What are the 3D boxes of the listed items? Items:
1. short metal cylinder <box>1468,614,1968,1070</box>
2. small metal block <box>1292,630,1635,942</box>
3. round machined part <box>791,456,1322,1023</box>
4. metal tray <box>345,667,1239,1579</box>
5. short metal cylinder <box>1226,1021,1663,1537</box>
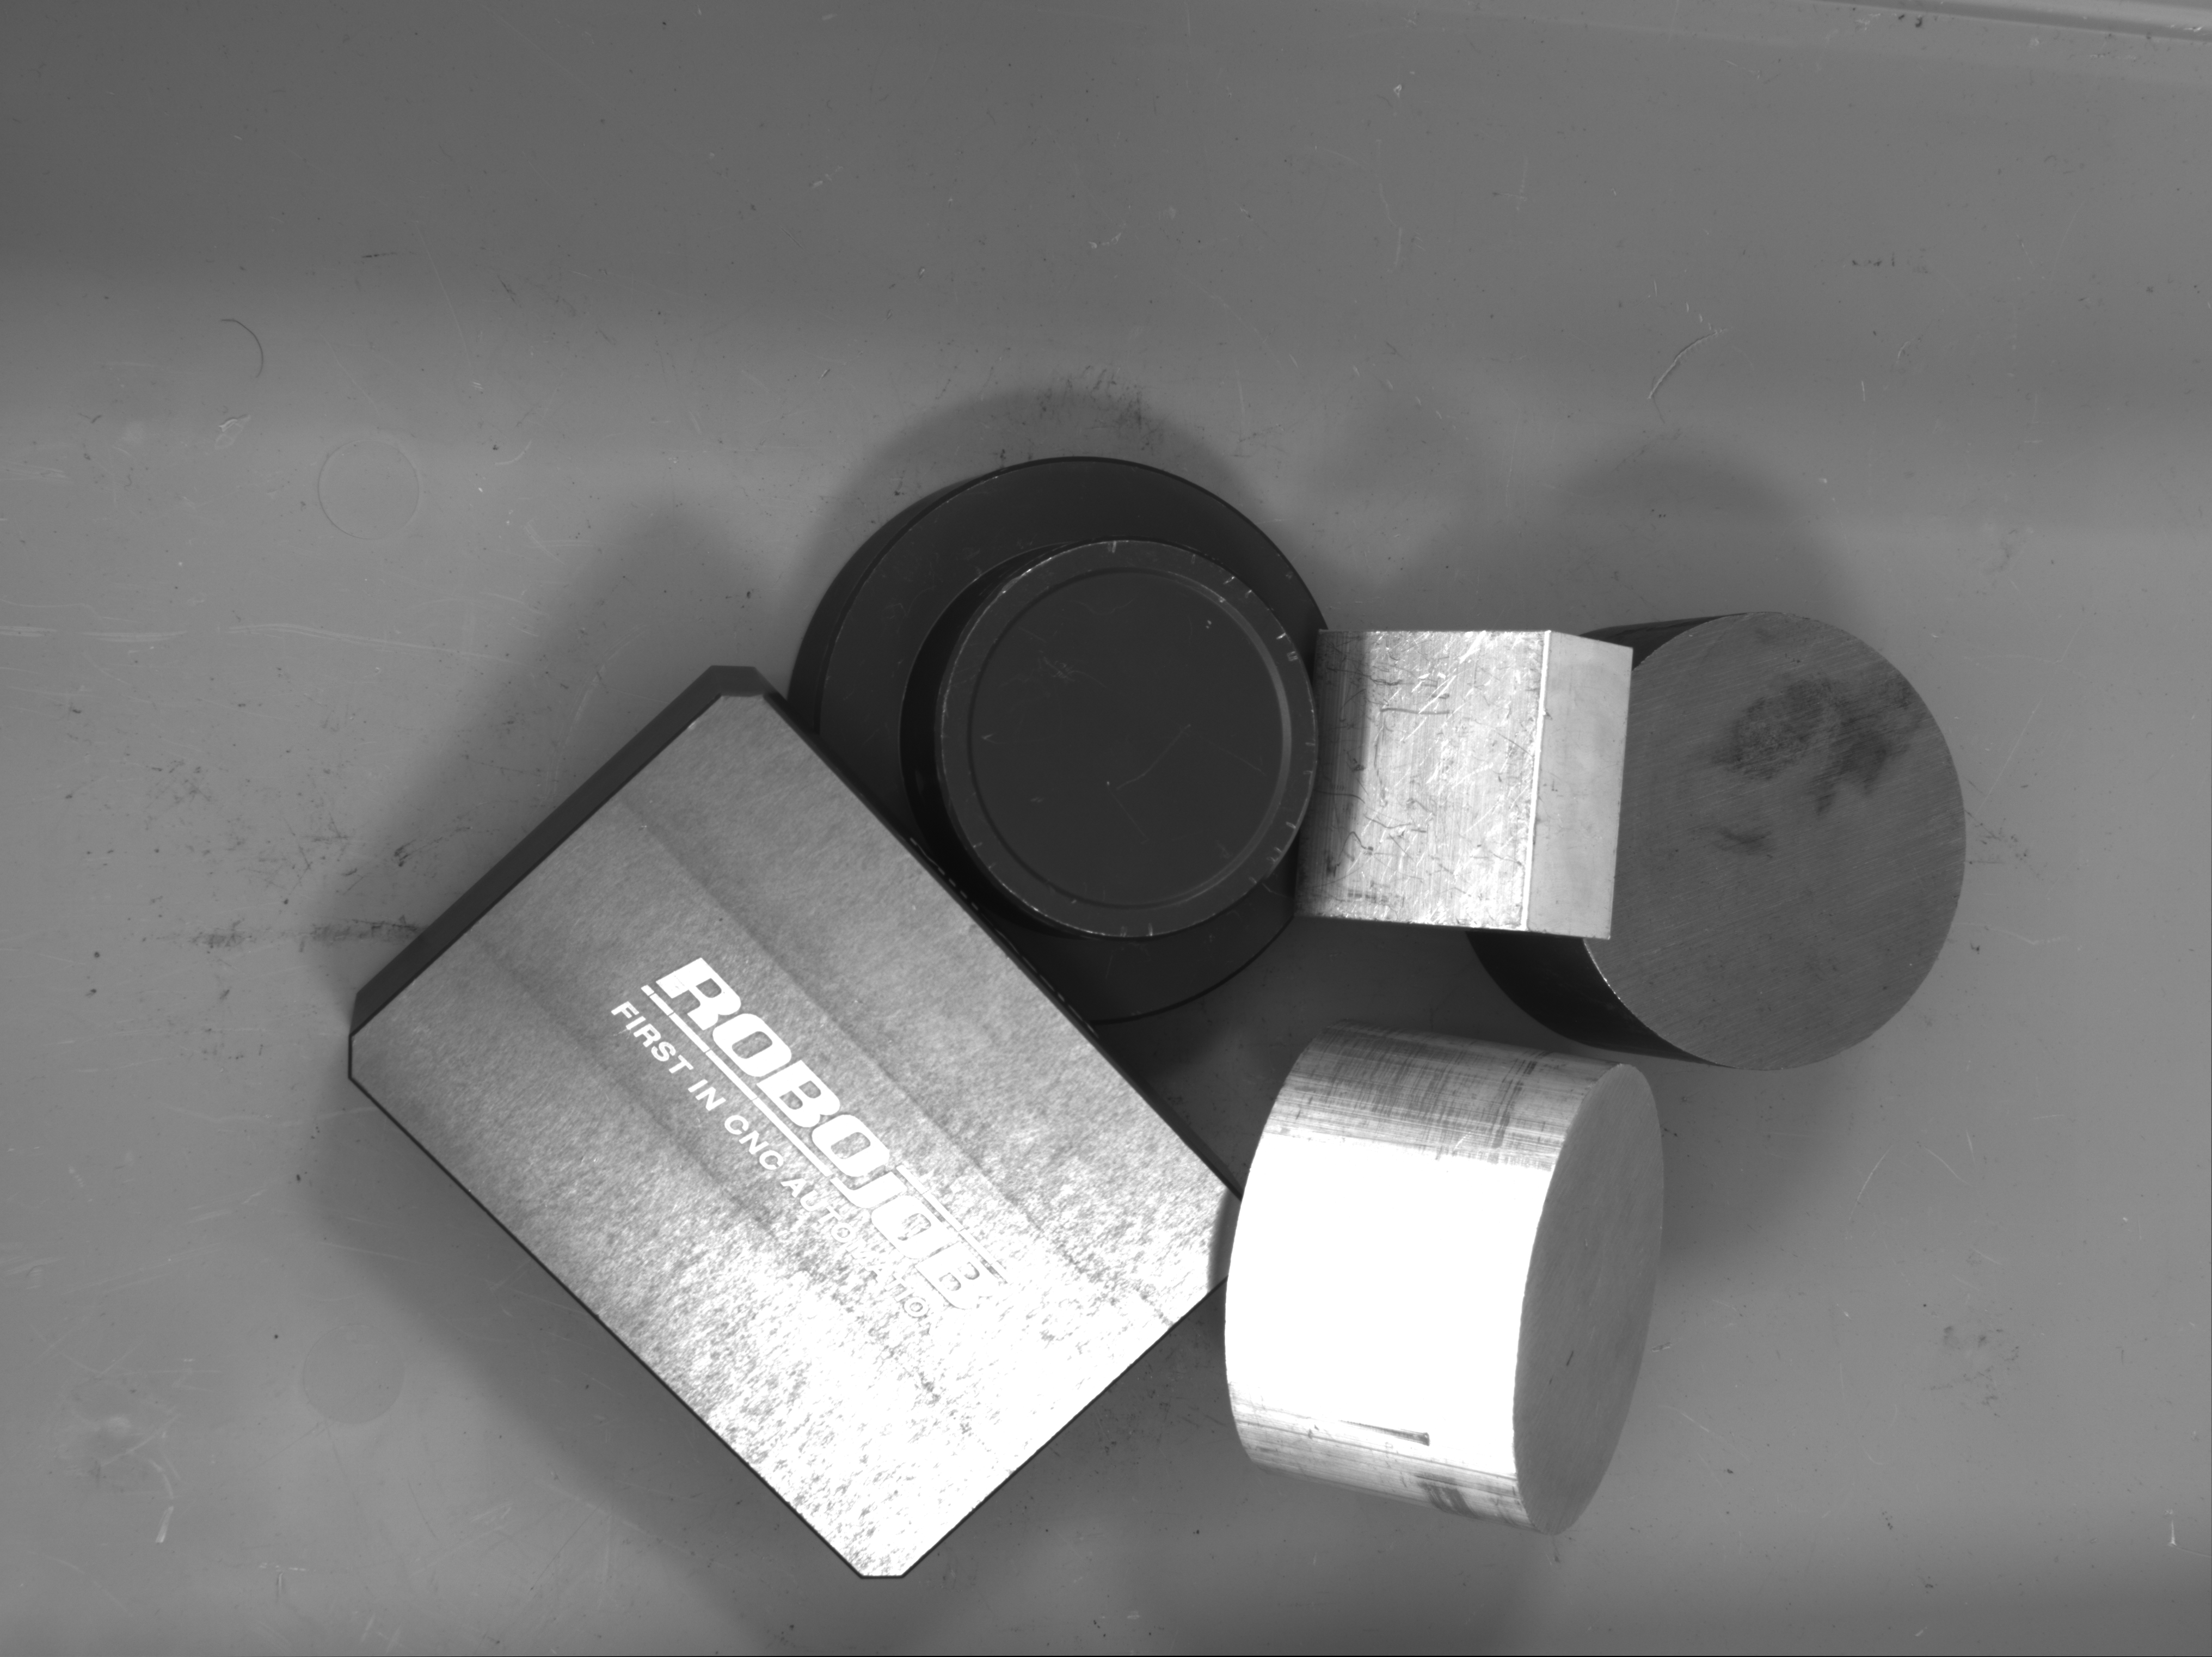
[{"bbox_3d":[0.109,0.002,0.668,0.080,0.050,0.080,0,90,-20],"label":"short metal cylinder"},{"bbox_3d":[0.061,-0.008,0.631,0.025,0.050,0.050,8,86,-47],"label":"small metal block"},{"bbox_3d":[-0.003,-0.015,0.632,0.098,0.042,0.098,0,90,-20],"label":"round machined part"},{"bbox_3d":[-0.050,0.049,0.609,0.090,0.030,0.130,-43,104,1],"label":"metal tray"},{"bbox_3d":[0.059,0.076,0.628,0.050,0.080,0.080,8,86,24],"label":"short metal cylinder"}]
